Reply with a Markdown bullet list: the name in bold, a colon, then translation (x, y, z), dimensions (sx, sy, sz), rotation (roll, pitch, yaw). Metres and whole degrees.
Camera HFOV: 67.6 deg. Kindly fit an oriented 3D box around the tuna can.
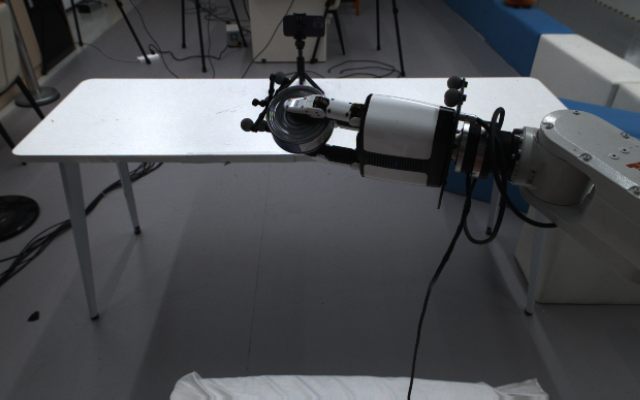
- **tuna can**: translation (-0.023, -0.102, 0.627), dimensions (0.085, 0.034, 0.085), rotation (-2, 72, 6)
